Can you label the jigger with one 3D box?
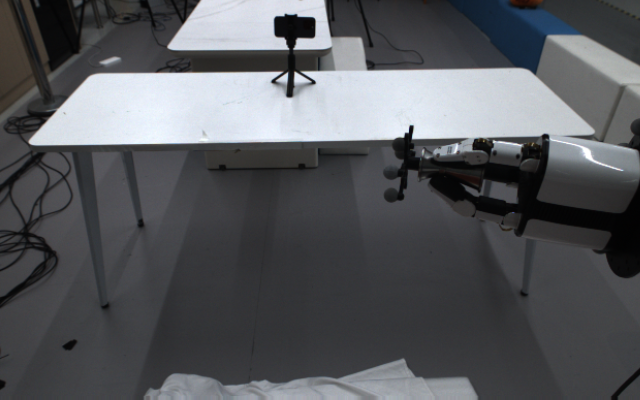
[{"bbox_3d":[0.153,-0.039,0.537,0.071,0.043,0.043,9,35,16],"label":"jigger"}]
